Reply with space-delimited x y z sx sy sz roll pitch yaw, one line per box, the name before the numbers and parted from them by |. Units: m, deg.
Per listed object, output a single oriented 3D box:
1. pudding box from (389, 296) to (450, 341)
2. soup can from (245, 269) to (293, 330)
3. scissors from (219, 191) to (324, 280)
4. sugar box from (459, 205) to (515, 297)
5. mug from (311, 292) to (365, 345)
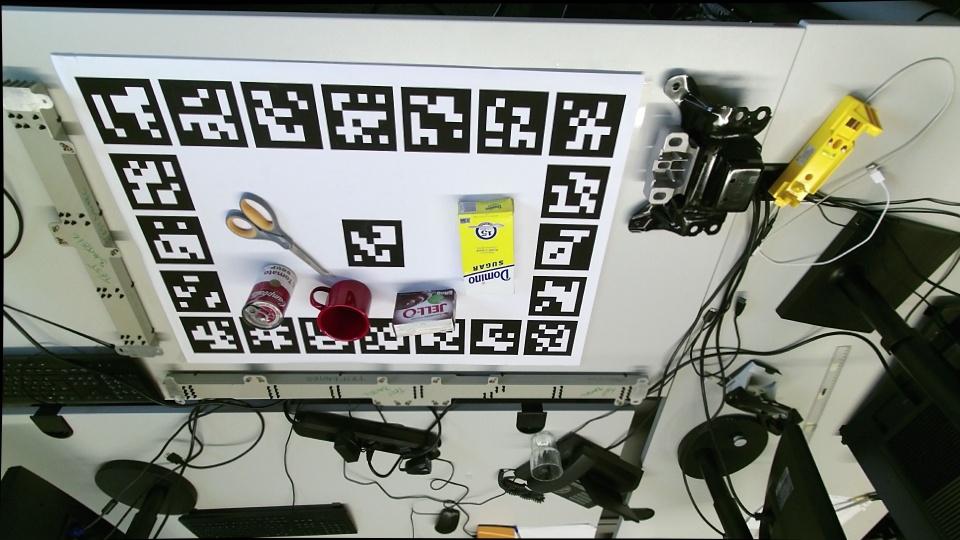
pudding box | -0.113 0.093 0.986 0.114 0.089 0.038 -7 118 3
soup can | -0.377 0.053 0.953 0.068 0.101 0.068 -2 126 -2
scissors | -0.351 -0.044 0.927 0.088 0.016 0.203 -39 117 12
sugar box | 0.012 -0.026 0.944 0.093 0.045 0.176 -2 124 -3
mug | -0.263 0.086 0.984 0.093 0.081 0.117 -31 122 15
